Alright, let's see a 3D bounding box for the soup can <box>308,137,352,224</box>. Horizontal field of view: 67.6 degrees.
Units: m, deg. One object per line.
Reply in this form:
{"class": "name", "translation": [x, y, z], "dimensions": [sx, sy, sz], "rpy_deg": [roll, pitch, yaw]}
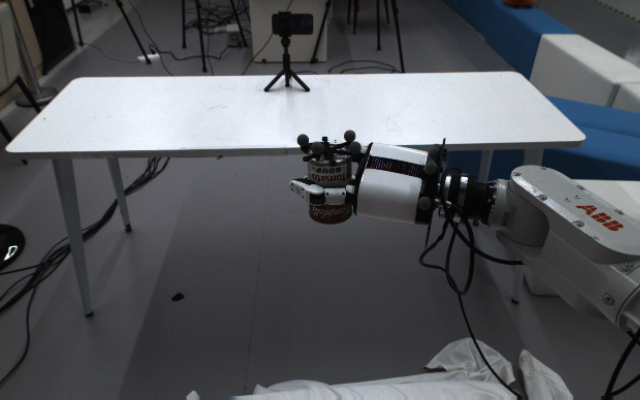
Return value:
{"class": "soup can", "translation": [0.015, -0.025, 0.720], "dimensions": [0.067, 0.101, 0.067], "rpy_deg": [-2, 33, 1]}
